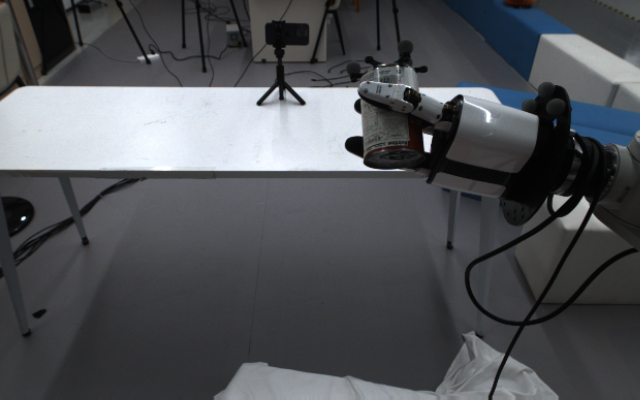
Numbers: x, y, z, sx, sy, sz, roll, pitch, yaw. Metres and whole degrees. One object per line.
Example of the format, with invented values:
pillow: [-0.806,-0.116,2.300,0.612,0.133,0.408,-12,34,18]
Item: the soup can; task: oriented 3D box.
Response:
soup can: [0.080,-0.094,0.544,0.067,0.067,0.101,0,75,-3]
